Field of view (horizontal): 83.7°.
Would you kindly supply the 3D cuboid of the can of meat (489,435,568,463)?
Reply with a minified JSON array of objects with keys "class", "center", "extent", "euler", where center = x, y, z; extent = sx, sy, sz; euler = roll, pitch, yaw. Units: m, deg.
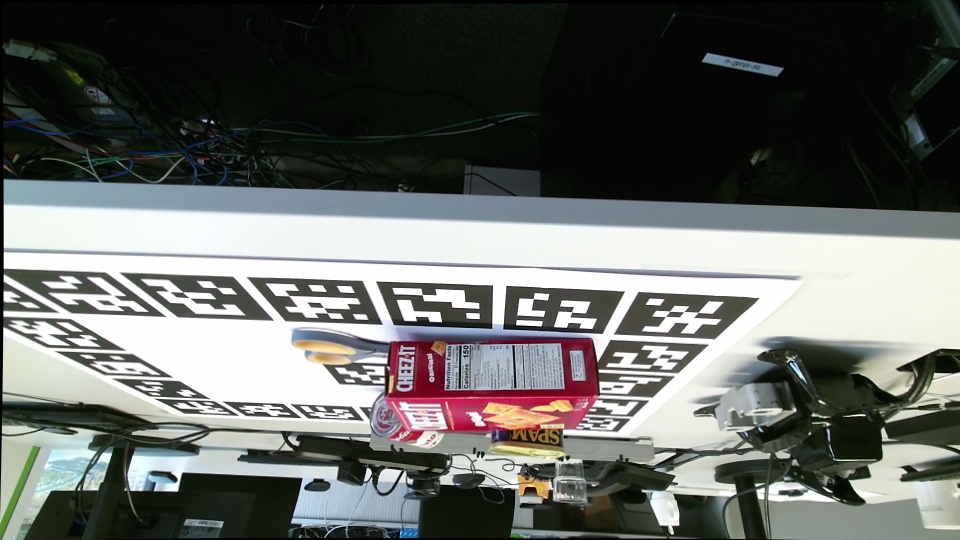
[{"class":"can of meat","center":[0.065,0.211,0.729],"extent":[0.102,0.083,0.058],"euler":[10,147,-11]}]

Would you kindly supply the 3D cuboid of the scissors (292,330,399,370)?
[{"class":"scissors","center":[-0.101,0.090,0.596],"extent":[0.203,0.016,0.088],"euler":[0,147,5]}]

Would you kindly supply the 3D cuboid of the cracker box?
[{"class":"cracker box","center":[0.013,0.140,0.607],"extent":[0.214,0.071,0.164],"euler":[-3,149,3]}]

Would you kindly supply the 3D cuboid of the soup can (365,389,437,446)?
[{"class":"soup can","center":[-0.112,0.220,0.792],"extent":[0.068,0.067,0.102],"euler":[-20,146,32]}]
